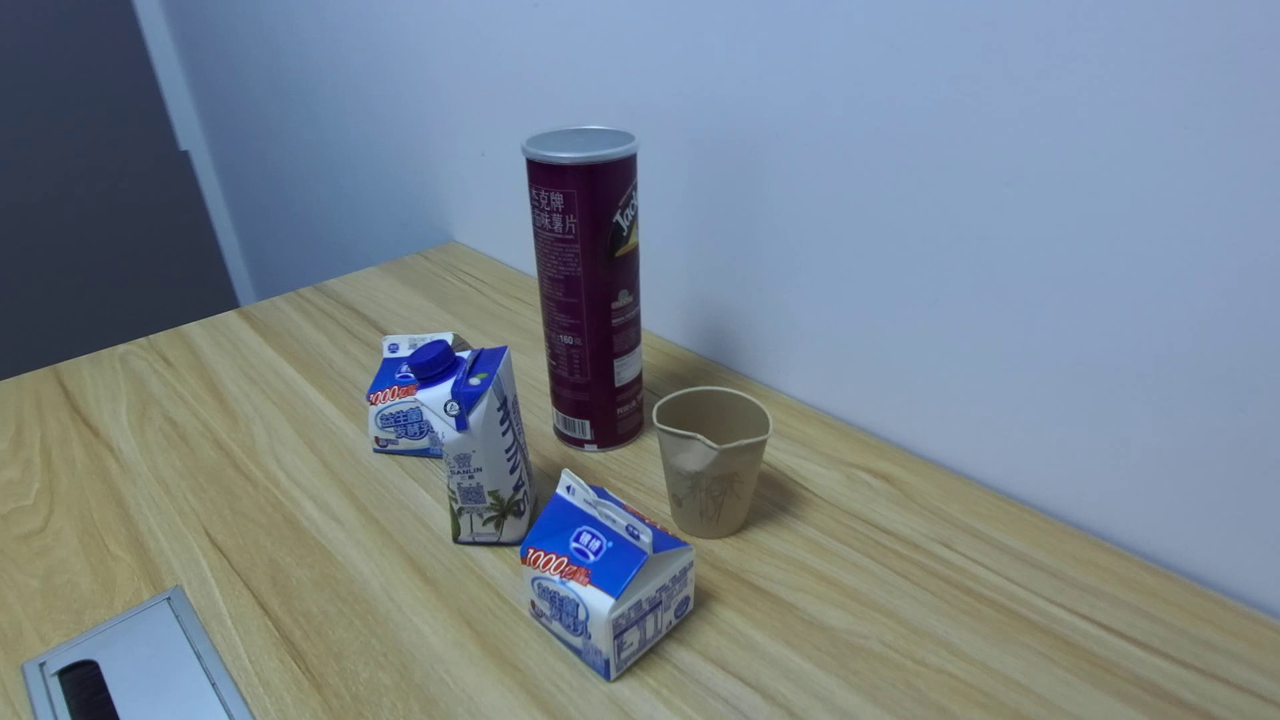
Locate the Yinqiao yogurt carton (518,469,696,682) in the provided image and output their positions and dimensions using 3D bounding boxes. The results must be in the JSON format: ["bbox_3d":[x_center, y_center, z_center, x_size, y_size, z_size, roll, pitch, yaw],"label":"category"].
[{"bbox_3d":[-0.018,0.113,0.402,0.075,0.092,0.074,26,40,37],"label":"Yinqiao yogurt carton"}]

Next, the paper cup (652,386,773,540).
[{"bbox_3d":[0.047,0.071,0.474,0.074,0.081,0.068,-13,31,-19],"label":"paper cup"}]

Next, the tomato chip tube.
[{"bbox_3d":[-0.036,-0.045,0.528,0.078,0.234,0.078,-1,31,1],"label":"tomato chip tube"}]

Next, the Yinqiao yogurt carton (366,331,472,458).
[{"bbox_3d":[-0.174,0.019,0.573,0.083,0.093,0.077,4,32,6],"label":"Yinqiao yogurt carton"}]

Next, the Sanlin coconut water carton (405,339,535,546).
[{"bbox_3d":[-0.106,0.052,0.464,0.057,0.142,0.078,-4,30,6],"label":"Sanlin coconut water carton"}]
